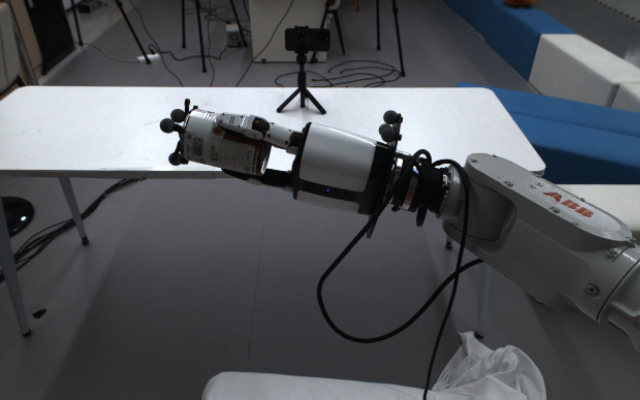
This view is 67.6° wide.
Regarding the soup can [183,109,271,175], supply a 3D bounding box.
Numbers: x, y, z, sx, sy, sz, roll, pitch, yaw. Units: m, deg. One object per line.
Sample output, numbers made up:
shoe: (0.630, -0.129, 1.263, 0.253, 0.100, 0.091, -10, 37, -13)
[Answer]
soup can: (-0.113, -0.071, 0.610, 0.101, 0.067, 0.067, 13, 35, -1)
